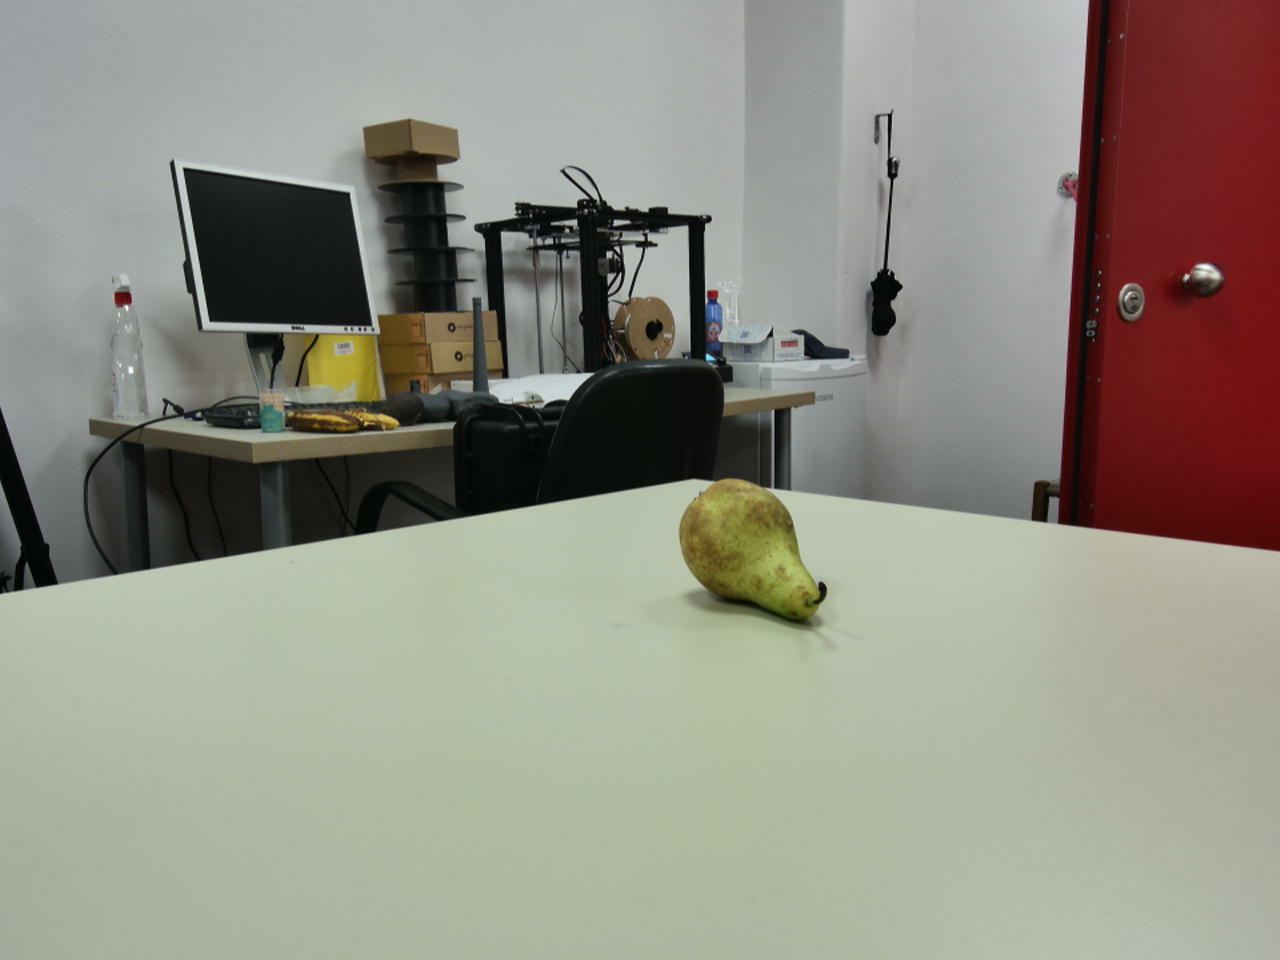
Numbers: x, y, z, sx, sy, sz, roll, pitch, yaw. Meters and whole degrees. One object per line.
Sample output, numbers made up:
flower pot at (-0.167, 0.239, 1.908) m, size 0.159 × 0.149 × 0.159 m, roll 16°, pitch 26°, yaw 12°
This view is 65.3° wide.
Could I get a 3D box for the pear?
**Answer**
pear at (0.081, 0.041, 0.607) m, size 0.071 × 0.075 × 0.144 m, roll -4°, pitch 9°, yaw -36°
